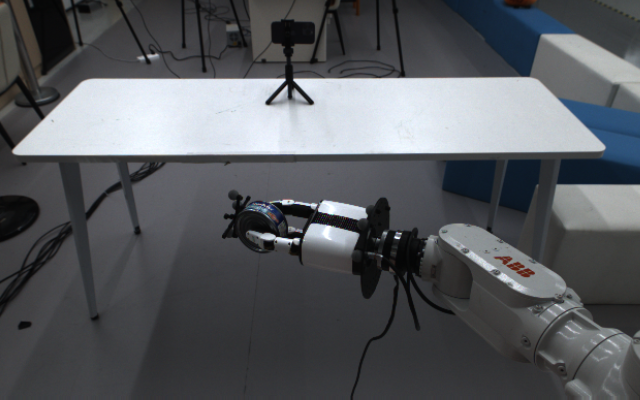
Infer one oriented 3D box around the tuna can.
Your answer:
[{"bbox_3d":[-0.097,0.044,0.808,0.085,0.085,0.034,14,31,16],"label":"tuna can"}]
